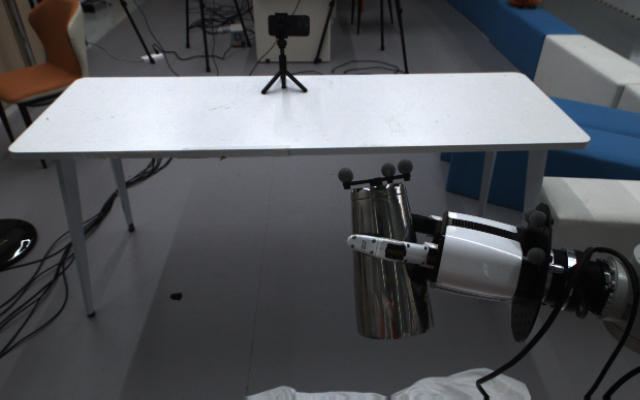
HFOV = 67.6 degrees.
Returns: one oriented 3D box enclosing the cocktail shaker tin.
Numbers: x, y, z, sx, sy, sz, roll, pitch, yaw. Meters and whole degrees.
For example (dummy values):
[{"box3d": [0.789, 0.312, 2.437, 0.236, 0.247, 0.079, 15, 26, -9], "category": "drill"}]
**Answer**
[{"box3d": [0.081, 0.069, 0.580, 0.093, 0.170, 0.093, -8, 1, 0], "category": "cocktail shaker tin"}]
